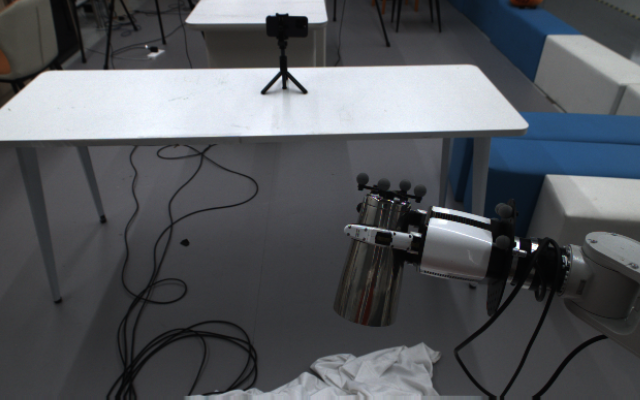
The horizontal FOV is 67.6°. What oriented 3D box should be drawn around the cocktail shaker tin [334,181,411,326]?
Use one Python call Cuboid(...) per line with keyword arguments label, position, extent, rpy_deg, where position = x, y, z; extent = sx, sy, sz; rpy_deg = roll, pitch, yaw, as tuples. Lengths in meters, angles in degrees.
Cuboid(label="cocktail shaker tin", position=(0.083, 0.077, 0.685), extent=(0.093, 0.170, 0.093), rpy_deg=(10, 9, -2))
